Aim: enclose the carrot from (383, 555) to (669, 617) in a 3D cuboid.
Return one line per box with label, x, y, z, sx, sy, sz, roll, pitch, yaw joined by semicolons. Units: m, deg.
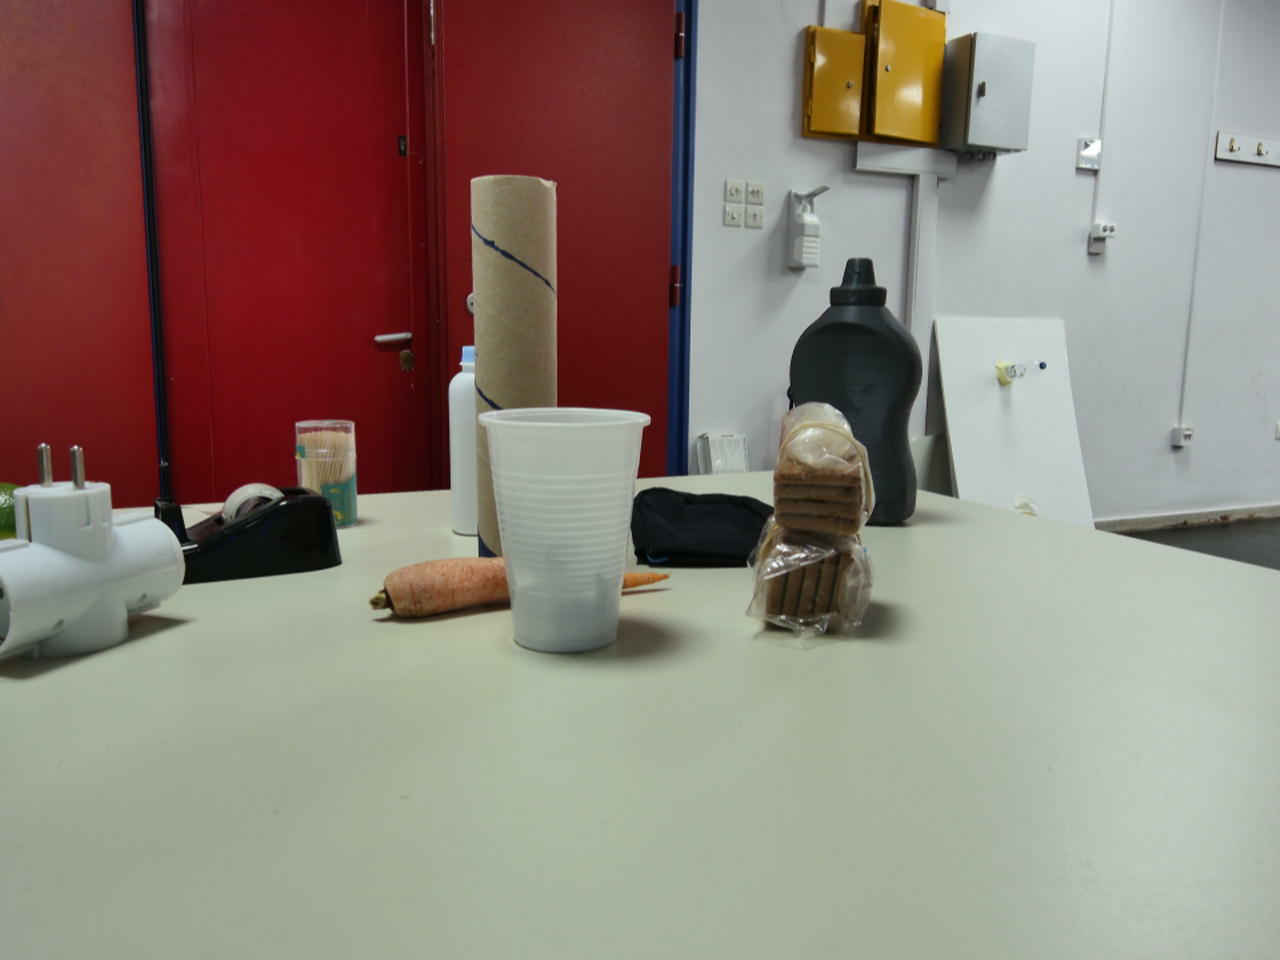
carrot;-0.059;0.053;0.537;0.163;0.029;0.031;-3;8;-24
